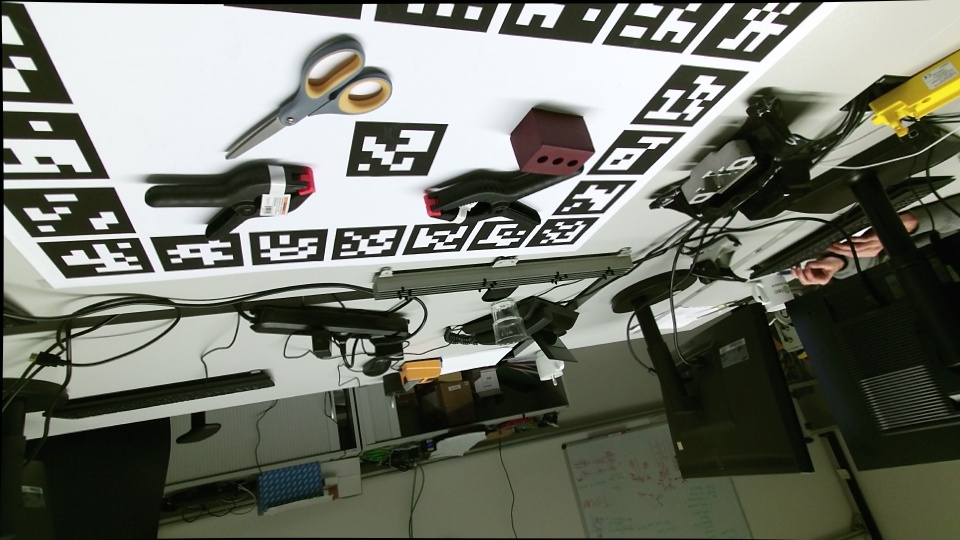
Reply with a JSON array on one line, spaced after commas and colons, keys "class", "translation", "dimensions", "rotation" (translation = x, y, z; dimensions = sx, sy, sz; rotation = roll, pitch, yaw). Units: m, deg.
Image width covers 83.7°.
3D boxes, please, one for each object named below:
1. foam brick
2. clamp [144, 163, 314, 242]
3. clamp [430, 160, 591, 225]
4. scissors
[{"class": "foam brick", "translation": [0.091, -0.158, 0.633], "dimensions": [0.078, 0.051, 0.053], "rotation": [-6, 154, -32]}, {"class": "clamp", "translation": [-0.268, -0.081, 0.612], "dimensions": [0.166, 0.036, 0.122], "rotation": [-17, 150, 3]}, {"class": "clamp", "translation": [0.032, -0.099, 0.743], "dimensions": [0.203, 0.036, 0.165], "rotation": [-6, 158, -18]}, {"class": "scissors", "translation": [-0.166, -0.154, 0.515], "dimensions": [0.203, 0.016, 0.088], "rotation": [-24, 148, 25]}]
